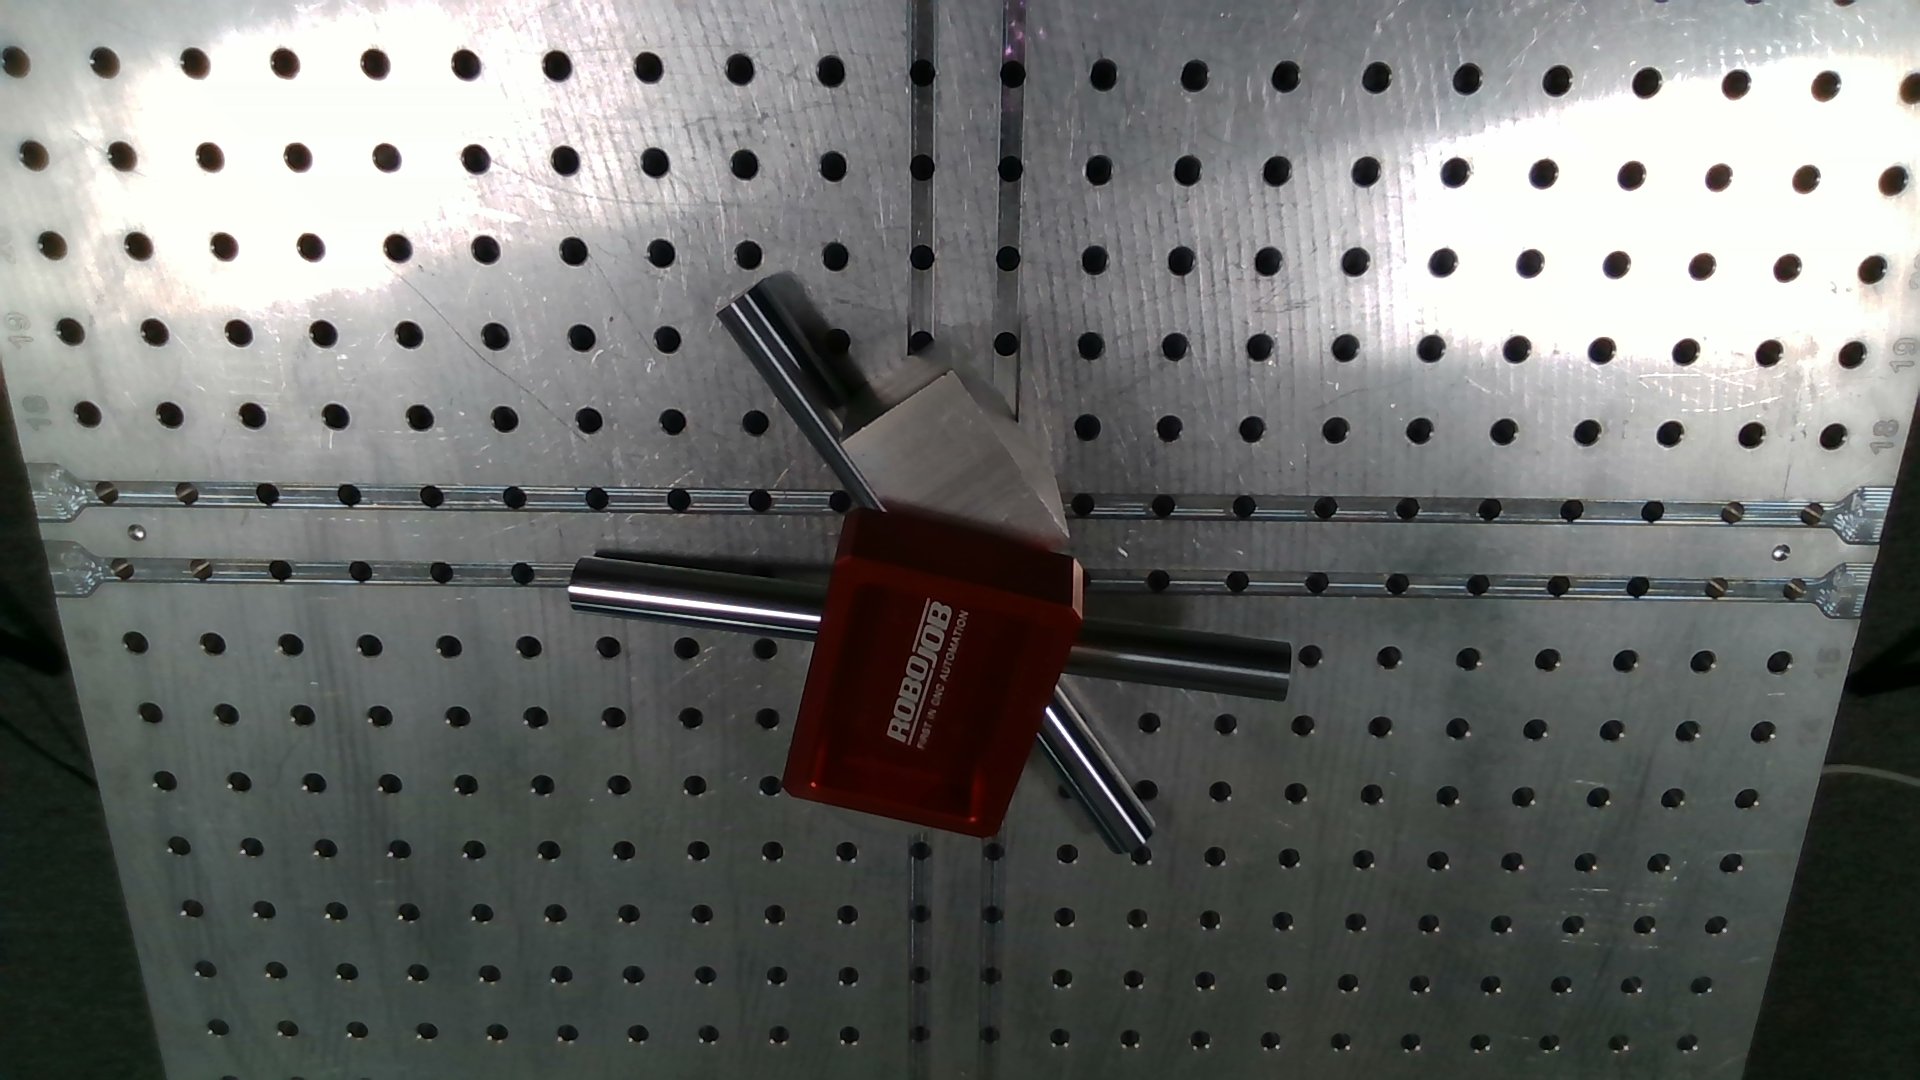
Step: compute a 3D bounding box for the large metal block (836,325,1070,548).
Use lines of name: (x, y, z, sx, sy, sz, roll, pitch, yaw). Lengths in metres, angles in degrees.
large metal block: (-0.002, -0.031, 0.546, 0.050, 0.080, 0.080, -32, 107, 11)

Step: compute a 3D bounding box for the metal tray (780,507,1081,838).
metal tray: (-0.014, 0.055, 0.530, 0.090, 0.030, 0.130, 13, 128, -5)

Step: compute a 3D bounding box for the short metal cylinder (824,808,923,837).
short metal cylinder: (-0.028, 0.082, 0.603, 0.080, 0.050, 0.080, 0, 110, 0)

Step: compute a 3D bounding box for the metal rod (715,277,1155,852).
metal rod: (-0.004, 0.019, 0.594, 0.025, 0.025, 0.300, -32, 107, 11)

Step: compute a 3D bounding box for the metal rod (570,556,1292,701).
metal rod: (-0.015, 0.036, 0.576, 0.300, 0.025, 0.025, 7, 110, 7)
